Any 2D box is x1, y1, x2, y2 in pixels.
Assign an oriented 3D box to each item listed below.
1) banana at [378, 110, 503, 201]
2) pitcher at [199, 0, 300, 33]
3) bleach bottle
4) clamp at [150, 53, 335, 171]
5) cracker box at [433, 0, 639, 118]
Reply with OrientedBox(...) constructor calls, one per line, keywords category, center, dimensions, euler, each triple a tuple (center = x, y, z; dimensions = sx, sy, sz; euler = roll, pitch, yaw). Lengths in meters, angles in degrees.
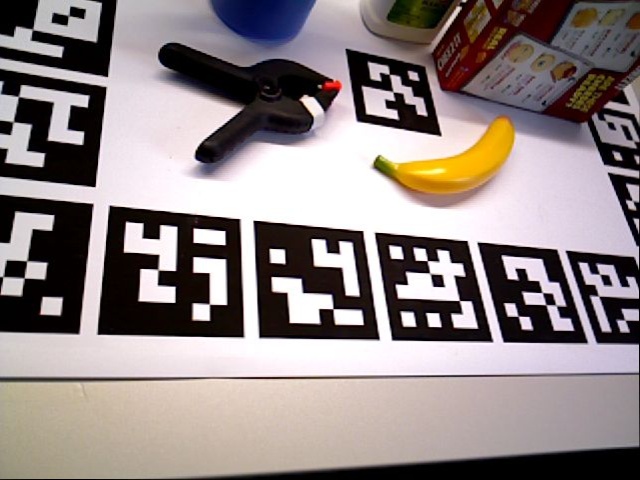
OrientedBox(category="banana", center=(0.145, -0.087, 0.569), dimensions=(0.193, 0.040, 0.074), euler=(-34, 78, -34))
OrientedBox(category="pitcher", center=(-0.042, -0.301, 0.446), dimensions=(0.185, 0.248, 0.133), euler=(-15, 68, -32))
OrientedBox(category="bleach bottle", center=(0.117, -0.317, 0.547), dimensions=(0.101, 0.257, 0.067), euler=(3, 60, -21))
OrientedBox(category="clamp", center=(-0.058, -0.123, 0.495), dimensions=(0.162, 0.037, 0.121), euler=(-13, 67, -30))
OrientedBox(category="cracker box", center=(0.260, -0.229, 0.592), dimensions=(0.211, 0.168, 0.071), euler=(4, 57, -19))
